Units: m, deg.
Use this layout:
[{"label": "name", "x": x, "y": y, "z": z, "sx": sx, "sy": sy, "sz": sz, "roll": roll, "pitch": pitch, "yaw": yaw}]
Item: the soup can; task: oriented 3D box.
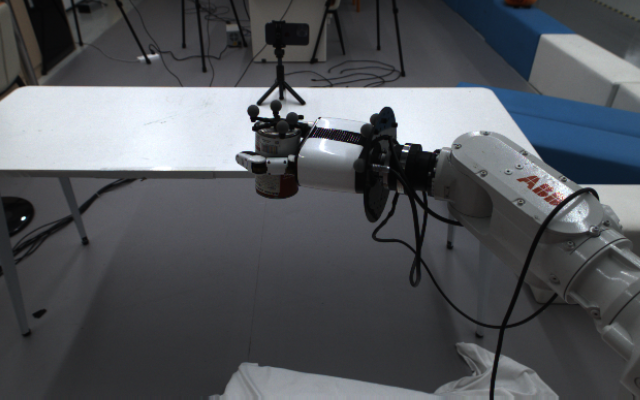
[{"label": "soup can", "x": -0.062, "y": -0.061, "z": 0.714, "sx": 0.067, "sy": 0.101, "sz": 0.067, "roll": 3, "pitch": 30, "yaw": -2}]
